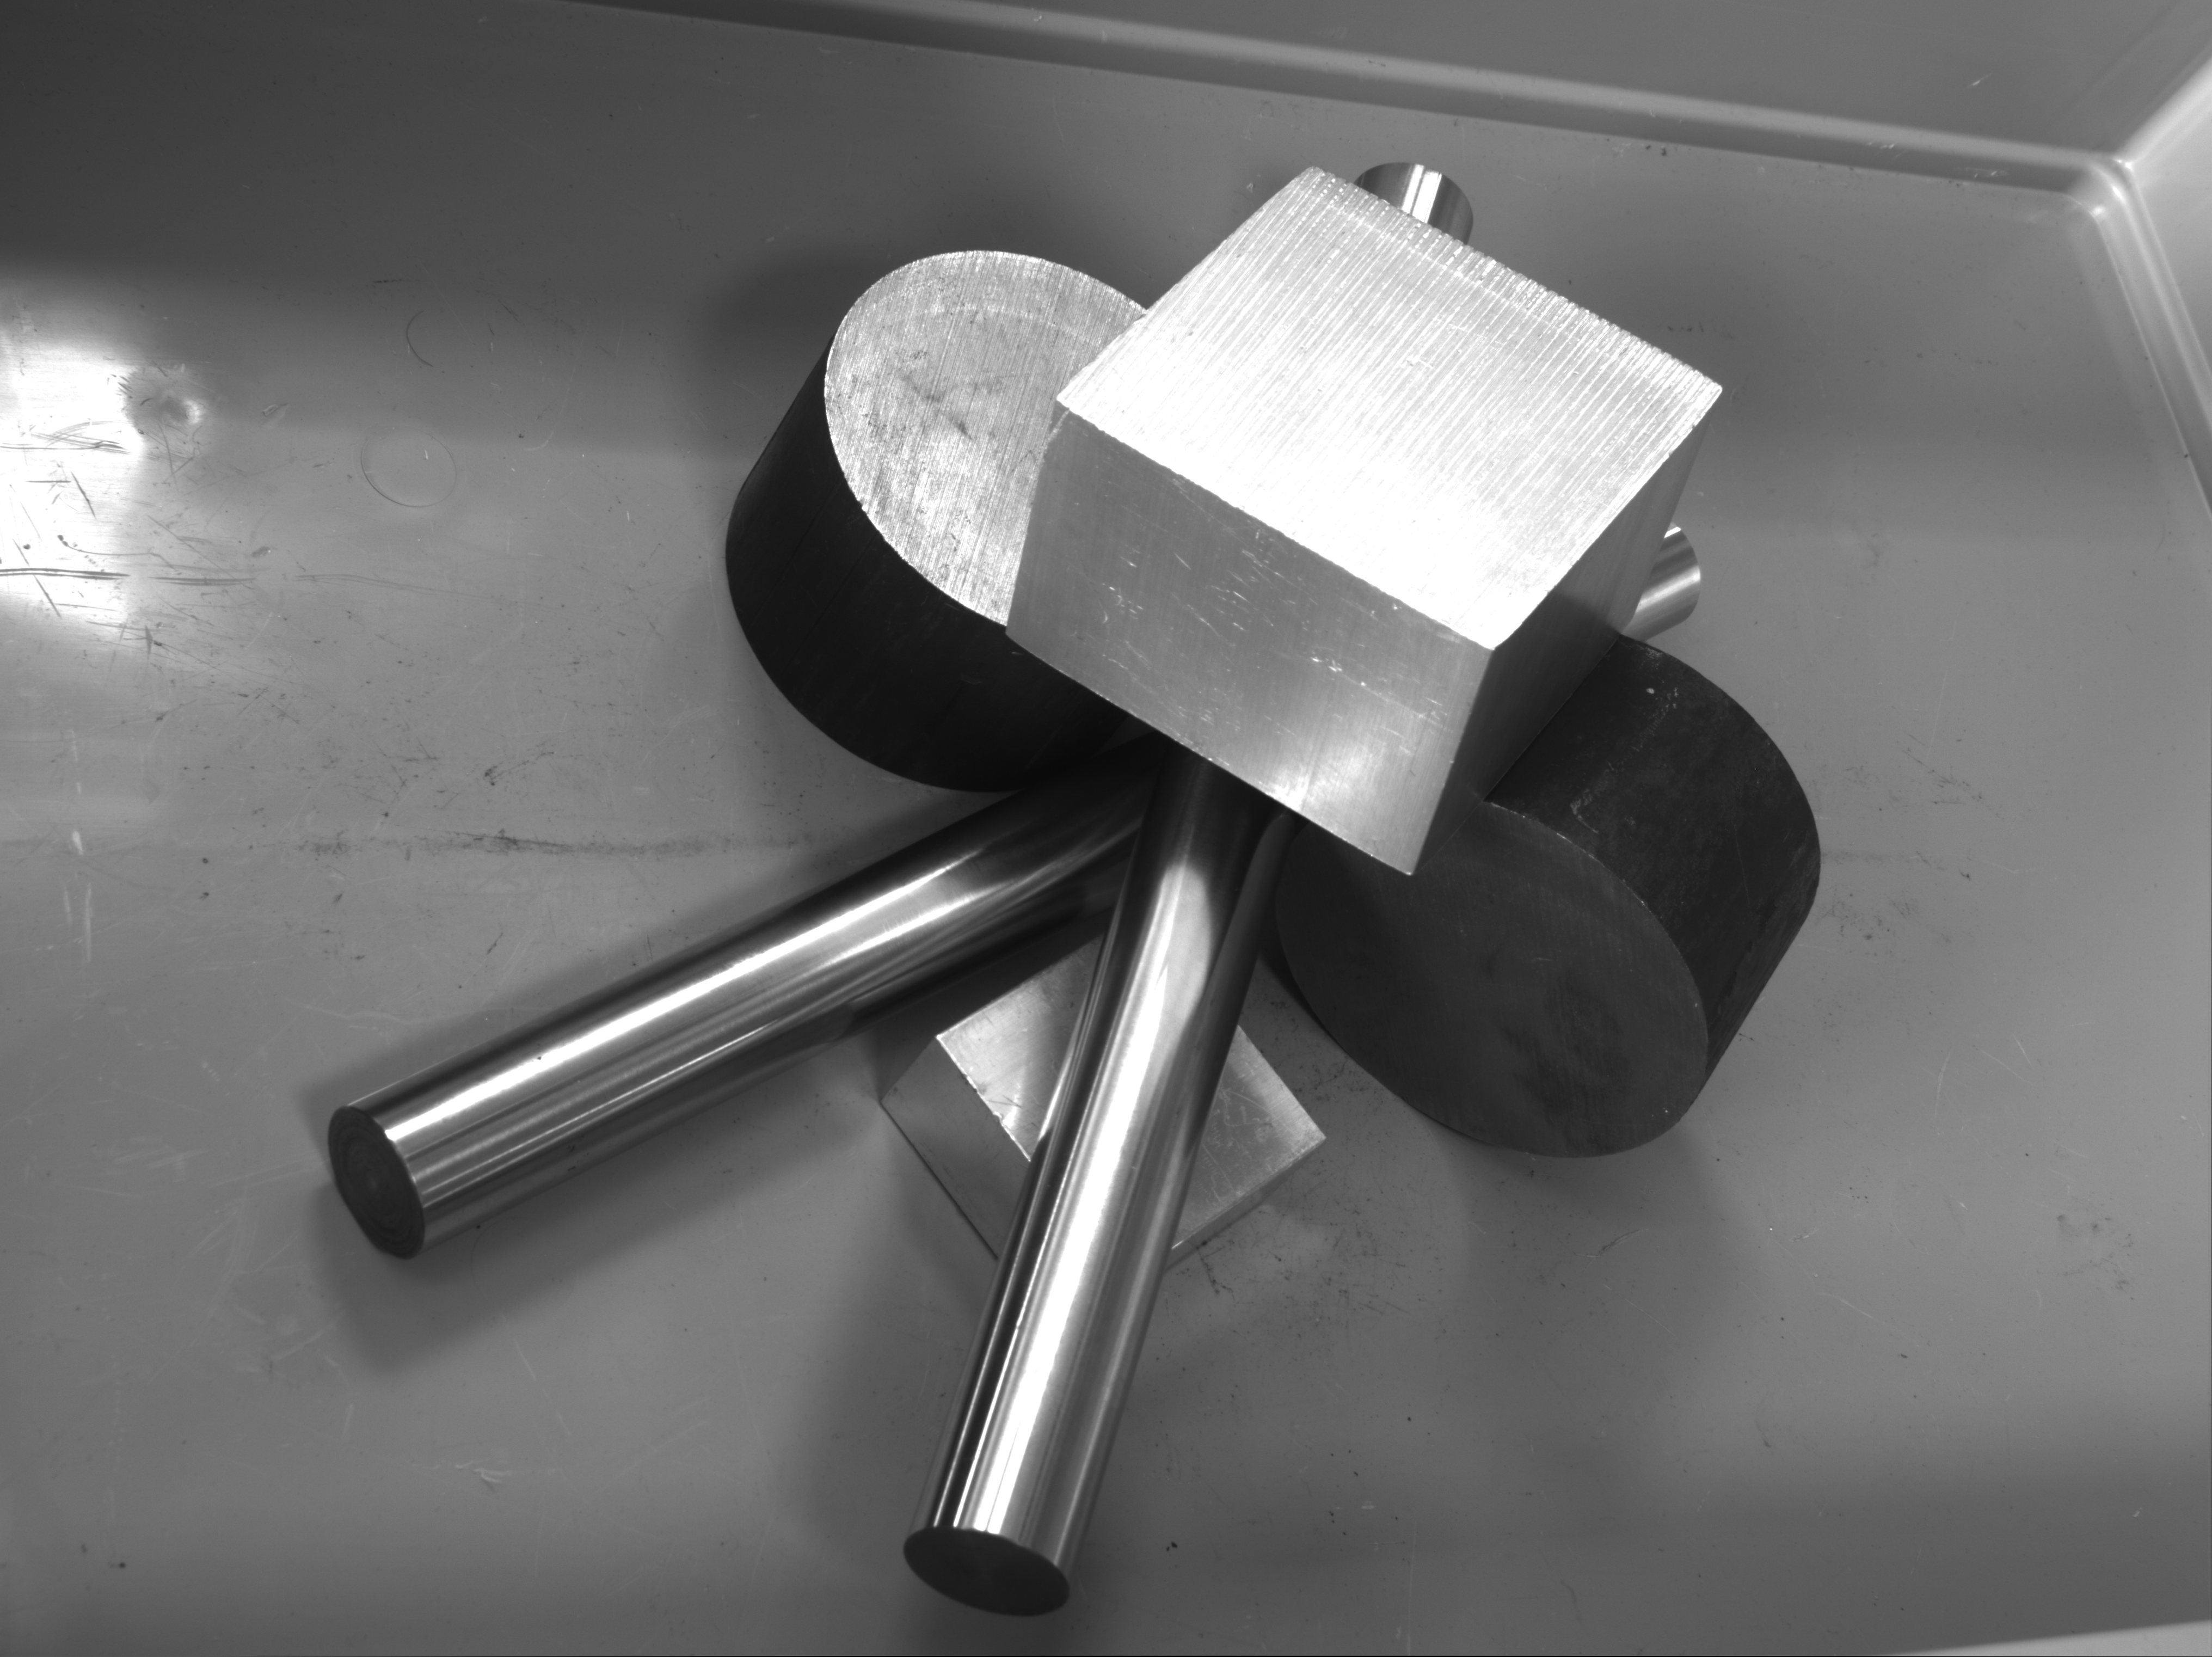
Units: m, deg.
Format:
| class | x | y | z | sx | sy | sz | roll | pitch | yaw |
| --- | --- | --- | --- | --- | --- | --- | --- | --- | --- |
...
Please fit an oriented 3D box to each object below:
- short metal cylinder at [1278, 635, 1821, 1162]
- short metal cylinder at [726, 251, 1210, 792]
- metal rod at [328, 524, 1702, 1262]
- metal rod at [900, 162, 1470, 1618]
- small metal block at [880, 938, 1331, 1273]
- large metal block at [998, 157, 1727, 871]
| class | x | y | z | sx | sy | sz | roll | pitch | yaw |
| --- | --- | --- | --- | --- | --- | --- | --- | --- | --- |
| short metal cylinder | 0.077 | 0.011 | 0.638 | 0.080 | 0.080 | 0.050 | 40 | 52 | -1 |
| short metal cylinder | -0.020 | -0.054 | 0.644 | 0.080 | 0.050 | 0.080 | 13 | 56 | -21 |
| metal rod | 0.000 | 0.001 | 0.637 | 0.301 | 0.025 | 0.025 | -26 | 76 | -37 |
| metal rod | 0.020 | -0.006 | 0.621 | 0.025 | 0.025 | 0.300 | 27 | 52 | -11 |
| small metal block | 0.000 | 0.049 | 0.608 | 0.050 | 0.025 | 0.050 | -31 | 79 | -38 |
| large metal block | 0.041 | -0.053 | 0.595 | 0.080 | 0.050 | 0.080 | 32 | 50 | 15 |
